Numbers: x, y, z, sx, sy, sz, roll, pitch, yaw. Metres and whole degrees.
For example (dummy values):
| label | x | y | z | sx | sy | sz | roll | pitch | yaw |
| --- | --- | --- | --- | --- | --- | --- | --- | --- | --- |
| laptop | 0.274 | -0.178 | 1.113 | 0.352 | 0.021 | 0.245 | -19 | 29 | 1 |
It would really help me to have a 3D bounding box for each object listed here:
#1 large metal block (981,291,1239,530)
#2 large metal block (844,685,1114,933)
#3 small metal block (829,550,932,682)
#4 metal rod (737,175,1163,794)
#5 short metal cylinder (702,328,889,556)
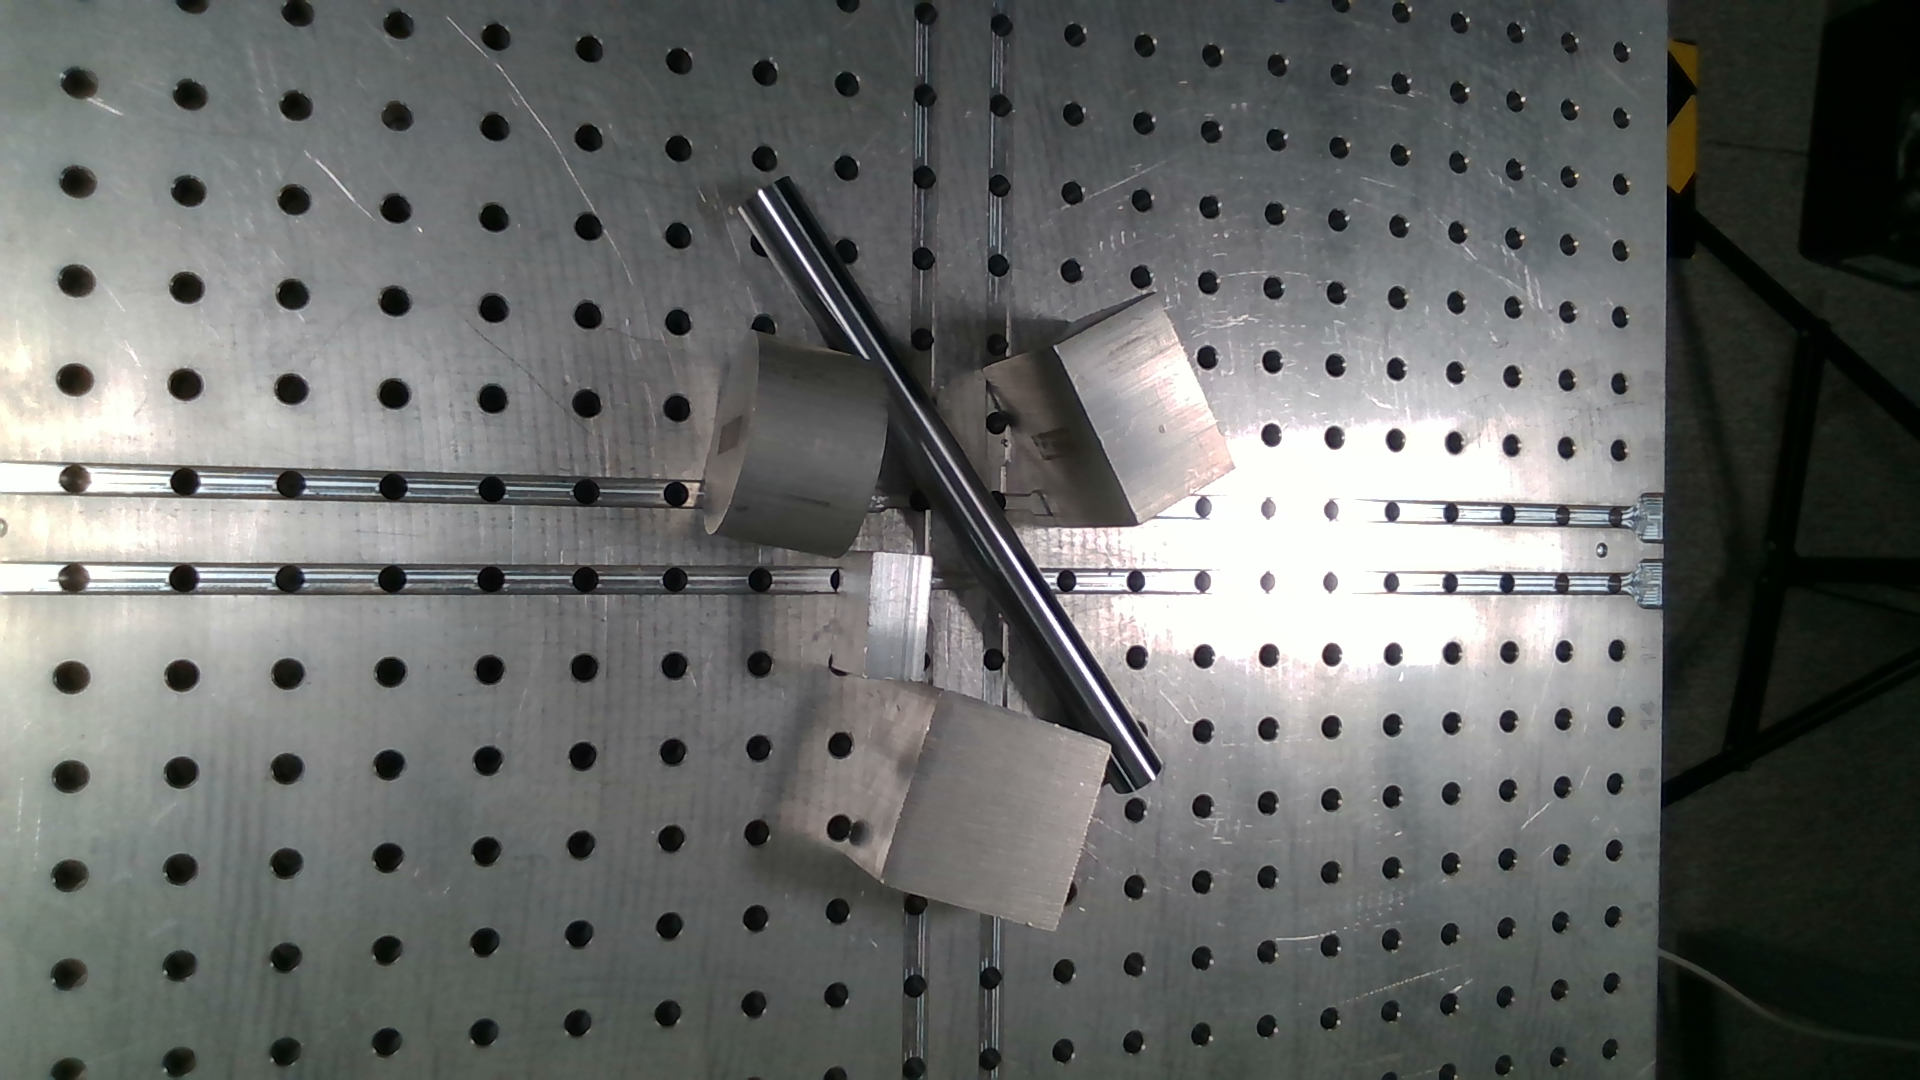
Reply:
| label | x | y | z | sx | sy | sz | roll | pitch | yaw |
| --- | --- | --- | --- | --- | --- | --- | --- | --- | --- |
| large metal block | 0.061 | -0.052 | 0.582 | 0.050 | 0.080 | 0.080 | -30 | 100 | -18 |
| large metal block | 0.007 | 0.109 | 0.576 | 0.080 | 0.050 | 0.080 | 20 | 83 | -19 |
| small metal block | -0.033 | 0.030 | 0.563 | 0.025 | 0.050 | 0.050 | 5 | 88 | -20 |
| metal rod | 0.000 | -0.017 | 0.588 | 0.025 | 0.025 | 0.300 | -36 | 102 | -17 |
| short metal cylinder | -0.065 | -0.037 | 0.534 | 0.050 | 0.080 | 0.080 | 12 | 86 | -20 |
